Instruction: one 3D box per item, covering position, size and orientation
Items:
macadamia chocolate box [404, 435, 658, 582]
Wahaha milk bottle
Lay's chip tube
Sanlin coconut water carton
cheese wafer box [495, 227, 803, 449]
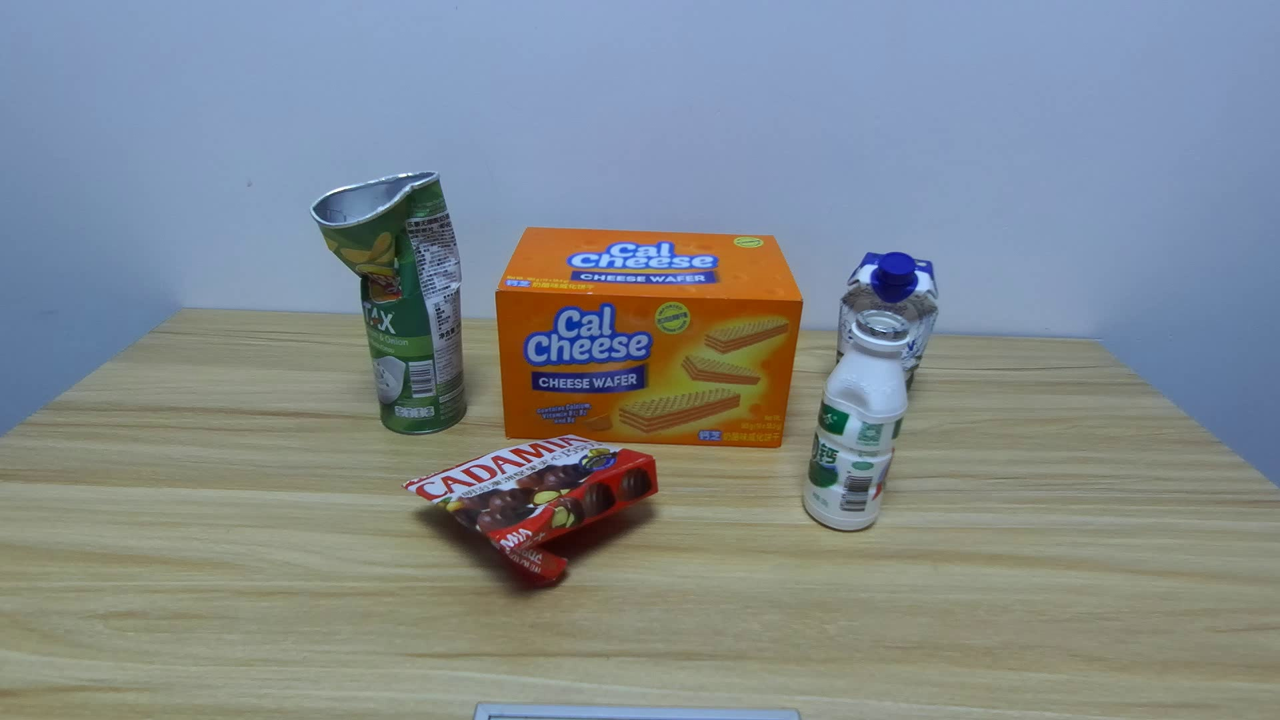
[{"bbox_3d":[-0.067,0.084,0.458,0.127,0.056,0.111,-24,39,-39],"label":"macadamia chocolate box"},{"bbox_3d":[0.140,0.045,0.456,0.053,0.137,0.053,3,29,-1],"label":"Wahaha milk bottle"},{"bbox_3d":[-0.178,-0.037,0.529,0.079,0.199,0.071,8,37,13],"label":"Lay's chip tube"},{"bbox_3d":[0.204,-0.027,0.593,0.078,0.142,0.058,12,36,18],"label":"Sanlin coconut water carton"},{"bbox_3d":[0.007,-0.024,0.585,0.222,0.129,0.148,2,29,-1],"label":"cheese wafer box"}]
